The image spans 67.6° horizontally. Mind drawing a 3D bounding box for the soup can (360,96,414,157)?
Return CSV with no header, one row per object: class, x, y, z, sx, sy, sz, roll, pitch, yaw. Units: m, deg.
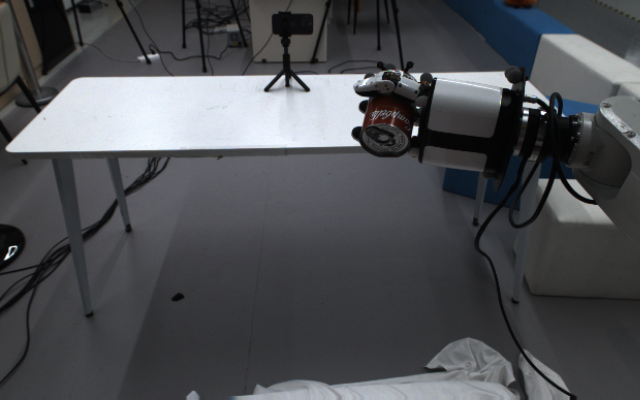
soup can,0.095,-0.118,0.651,0.067,0.067,0.101,9,59,10
